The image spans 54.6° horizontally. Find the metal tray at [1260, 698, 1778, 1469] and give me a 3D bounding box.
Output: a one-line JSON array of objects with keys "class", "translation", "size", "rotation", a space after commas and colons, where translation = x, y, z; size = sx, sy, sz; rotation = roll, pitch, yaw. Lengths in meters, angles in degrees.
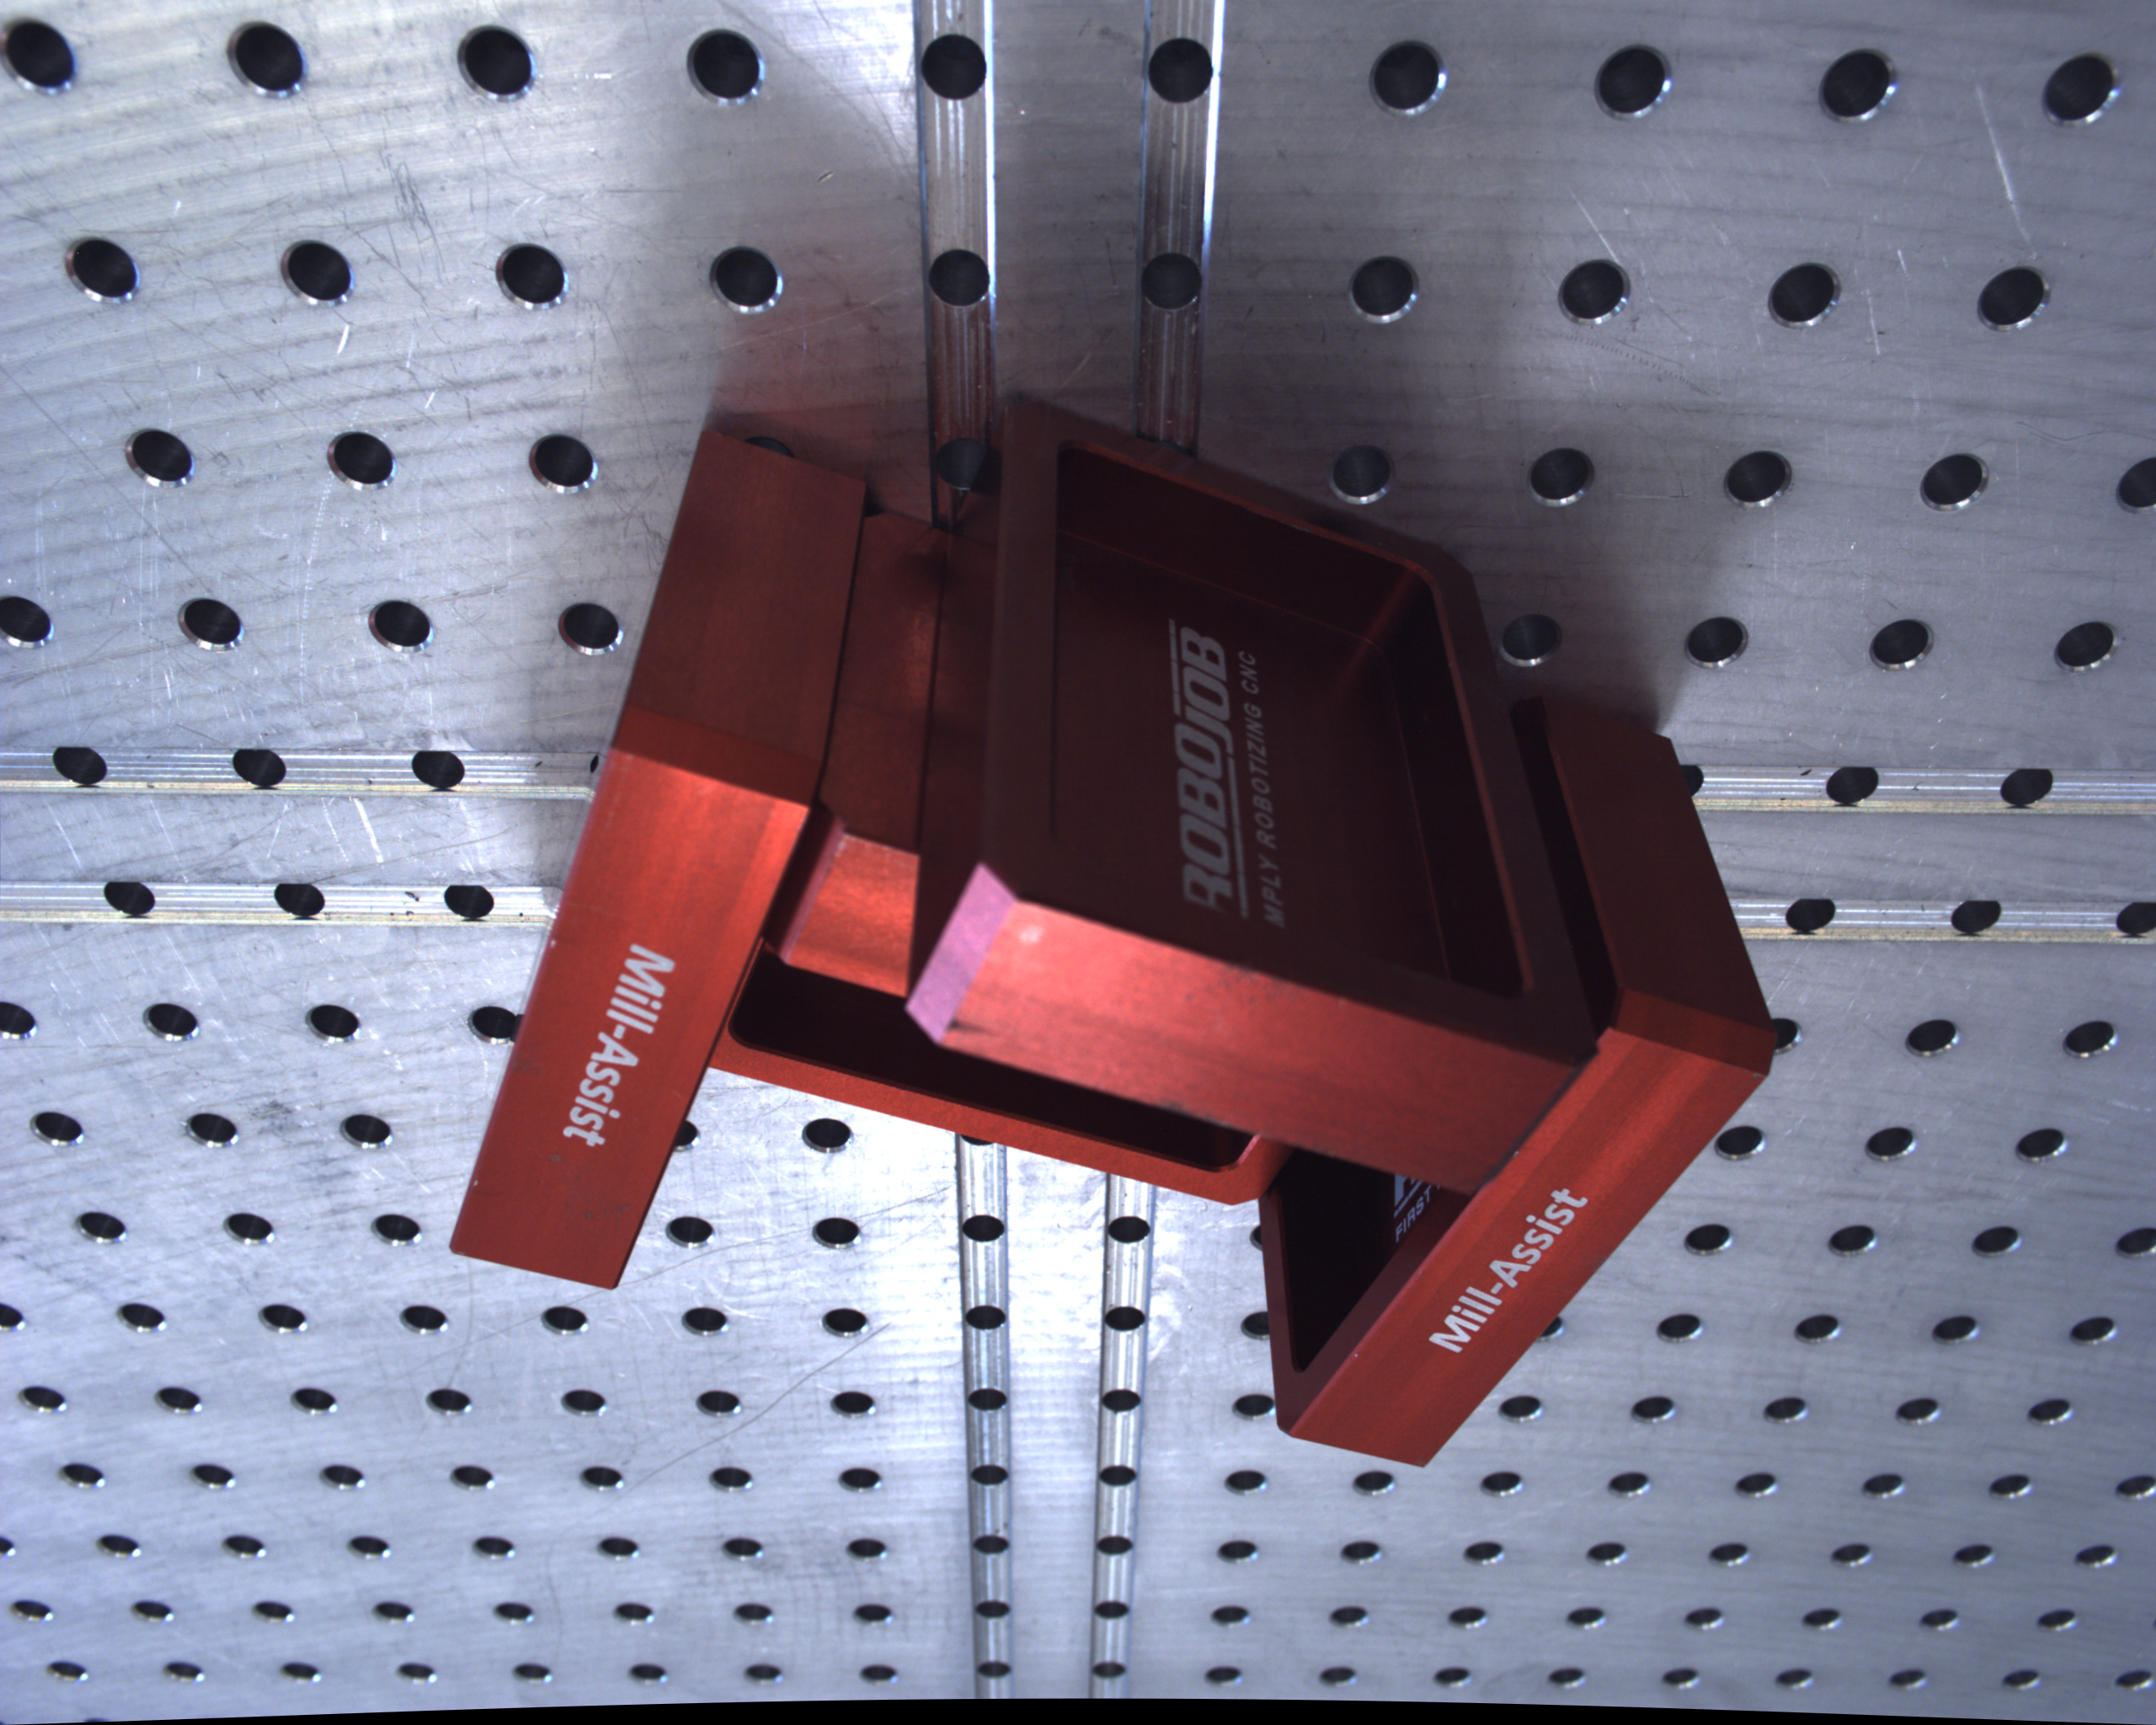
[{"class": "metal tray", "translation": [0.077, 0.044, 0.406], "size": [0.030, 0.090, 0.129], "rotation": [17, 128, -14]}]

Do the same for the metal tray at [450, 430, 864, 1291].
[{"class": "metal tray", "translation": [-0.075, 0.001, 0.369], "size": [0.030, 0.090, 0.129], "rotation": [17, 128, -14]}]

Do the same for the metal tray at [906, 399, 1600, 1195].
[{"class": "metal tray", "translation": [0.024, -0.016, 0.328], "size": [0.091, 0.130, 0.030], "rotation": [17, 128, -15]}]

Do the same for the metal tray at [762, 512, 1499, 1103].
[{"class": "metal tray", "translation": [0.016, -0.007, 0.363], "size": [0.131, 0.090, 0.030], "rotation": [17, 128, -14]}]

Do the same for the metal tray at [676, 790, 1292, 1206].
[{"class": "metal tray", "translation": [-0.006, 0.017, 0.422], "size": [0.131, 0.030, 0.089], "rotation": [17, 128, -15]}]
